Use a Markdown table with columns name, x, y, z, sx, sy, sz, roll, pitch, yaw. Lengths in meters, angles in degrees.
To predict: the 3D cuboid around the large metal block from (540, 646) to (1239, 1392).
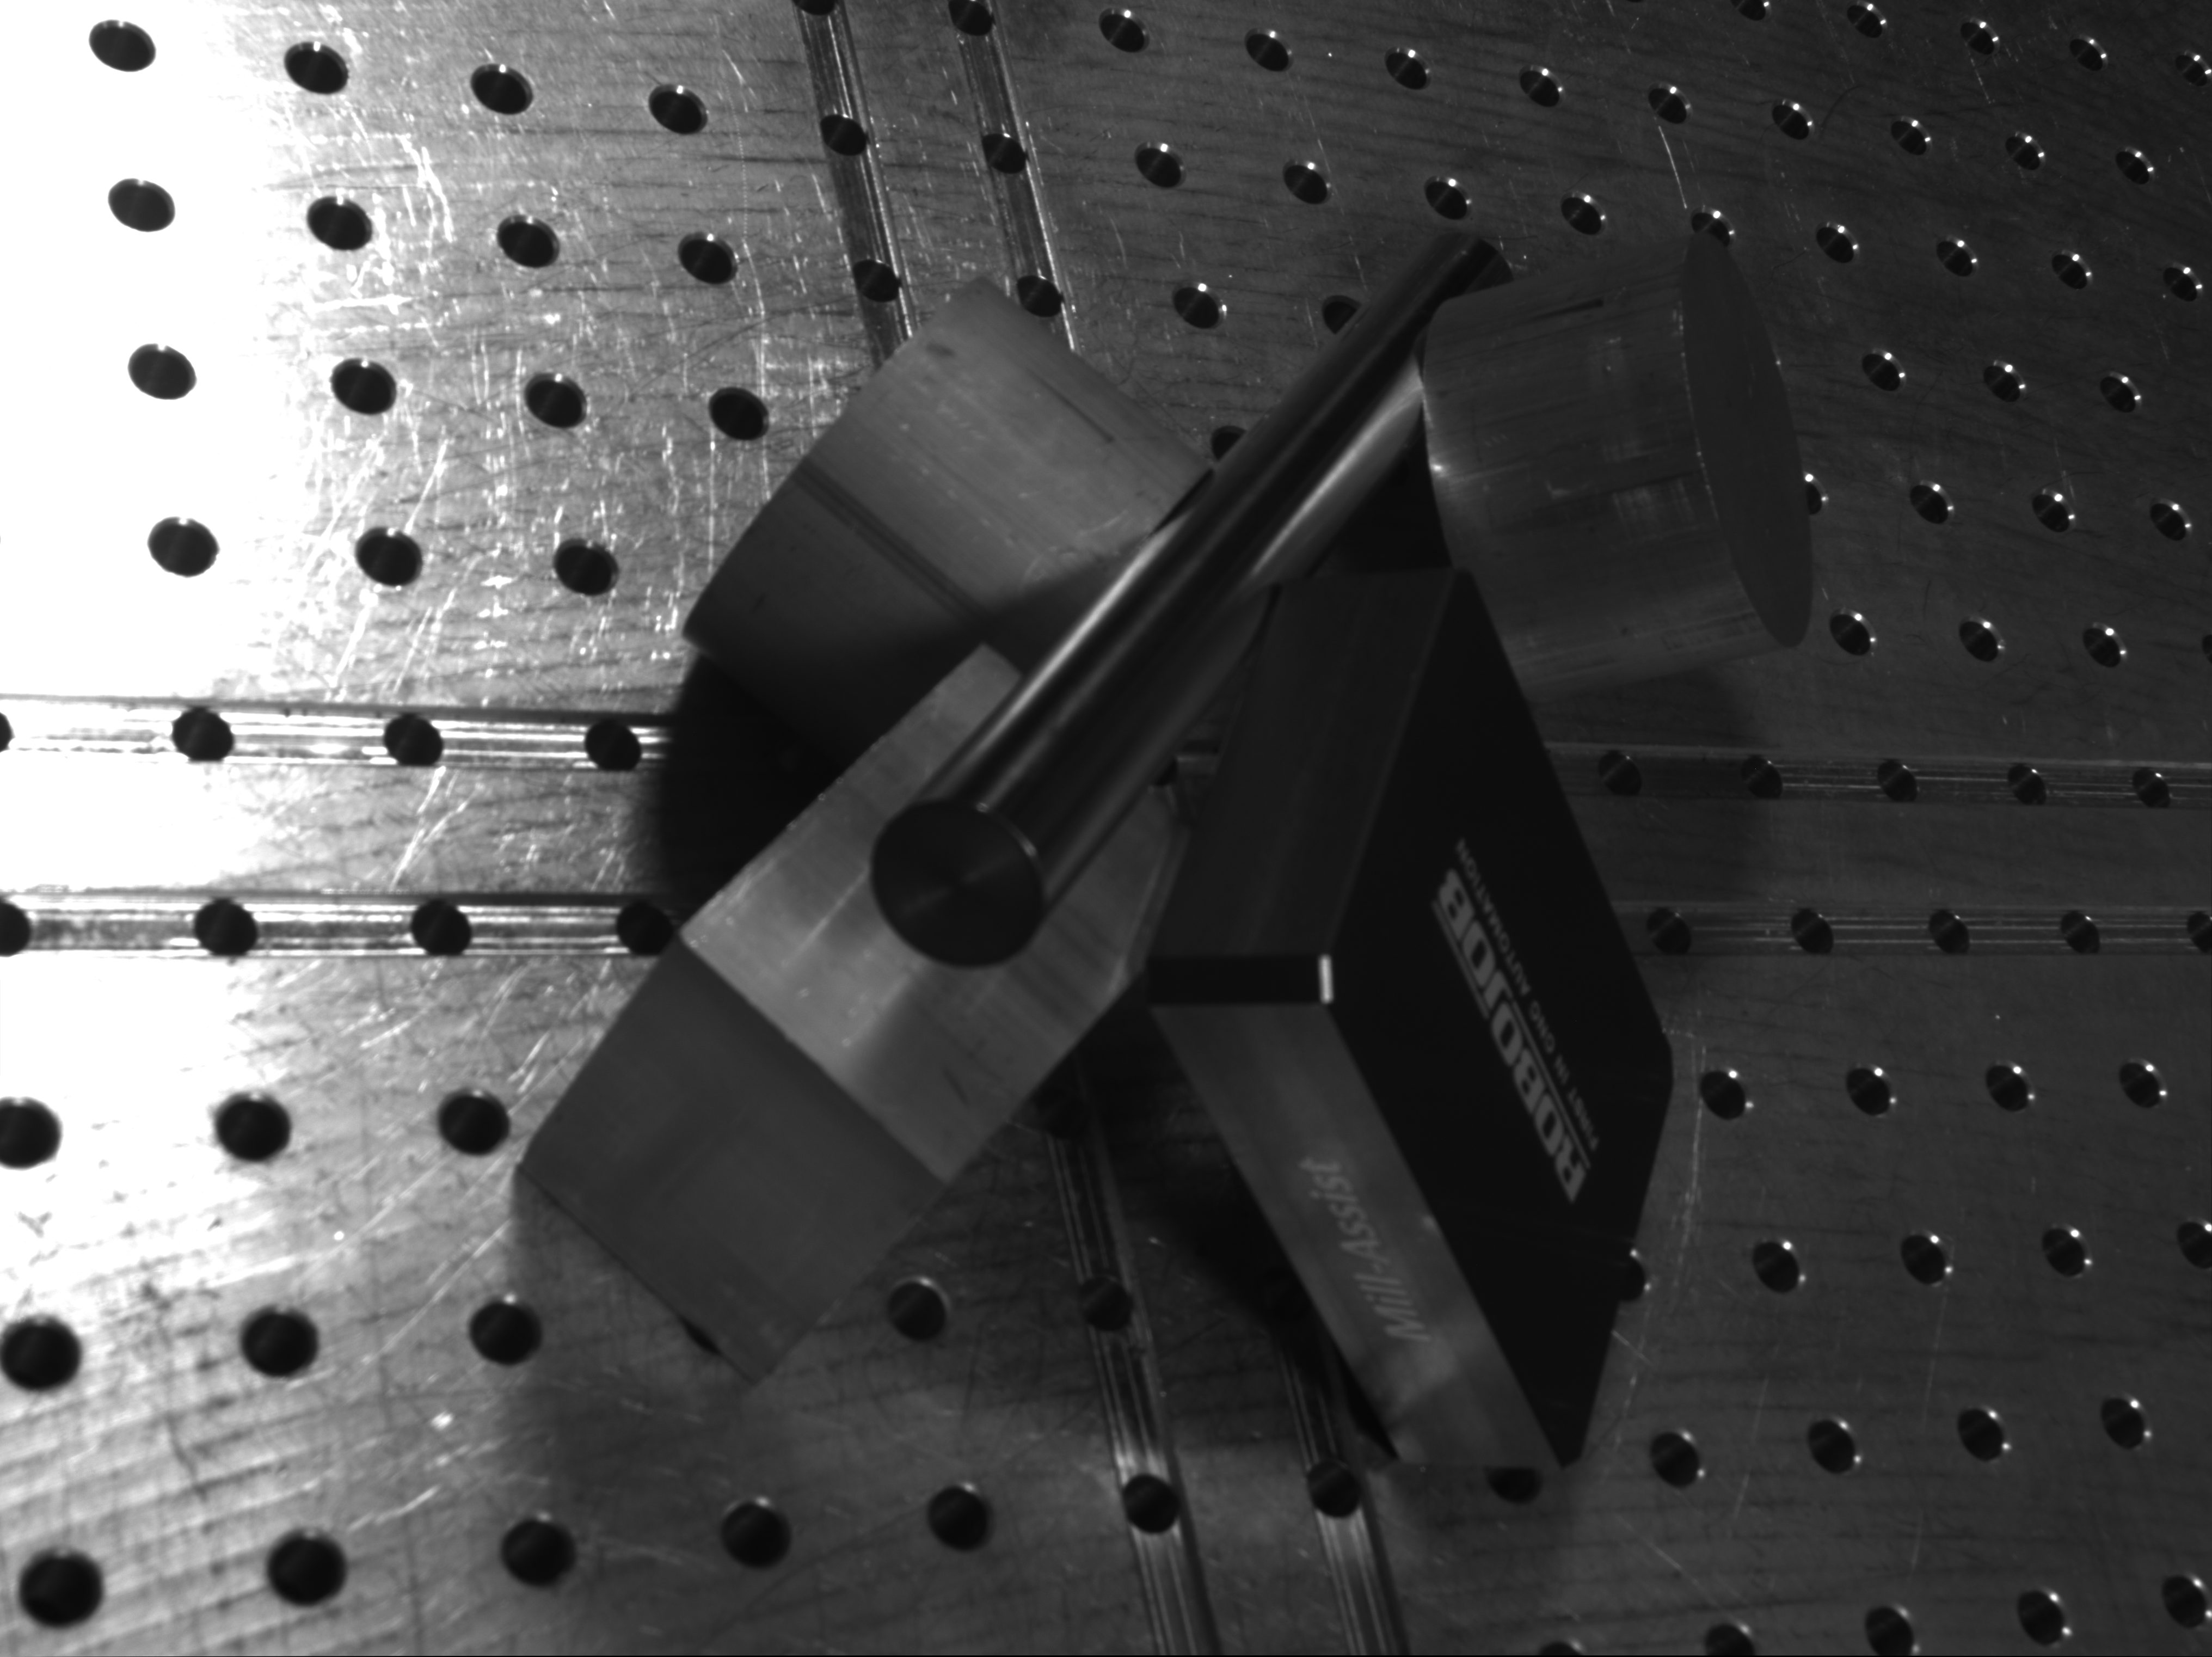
| name | x | y | z | sx | sy | sz | roll | pitch | yaw |
| --- | --- | --- | --- | --- | --- | --- | --- | --- | --- |
| large metal block | -0.033 | 0.030 | 0.571 | 0.050 | 0.080 | 0.080 | 43 | 51 | 1 |

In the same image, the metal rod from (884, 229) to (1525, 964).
| name | x | y | z | sx | sy | sz | roll | pitch | yaw |
| --- | --- | --- | --- | --- | --- | --- | --- | --- | --- |
| metal rod | 0.028 | -0.052 | 0.621 | 0.025 | 0.025 | 0.300 | 40 | 30 | -1 |

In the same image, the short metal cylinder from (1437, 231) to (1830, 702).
| name | x | y | z | sx | sy | sz | roll | pitch | yaw |
| --- | --- | --- | --- | --- | --- | --- | --- | --- | --- |
| short metal cylinder | 0.101 | -0.068 | 0.697 | 0.080 | 0.050 | 0.080 | 39 | 46 | -55 |

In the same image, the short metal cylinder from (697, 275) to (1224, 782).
| name | x | y | z | sx | sy | sz | roll | pitch | yaw |
| --- | --- | --- | --- | --- | --- | --- | --- | --- | --- |
| short metal cylinder | -0.024 | -0.047 | 0.623 | 0.050 | 0.080 | 0.080 | 40 | 51 | -1 |

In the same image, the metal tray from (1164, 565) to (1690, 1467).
| name | x | y | z | sx | sy | sz | roll | pitch | yaw |
| --- | --- | --- | --- | --- | --- | --- | --- | --- | --- |
| metal tray | 0.057 | 0.032 | 0.599 | 0.130 | 0.030 | 0.090 | 61 | 37 | -40 |
